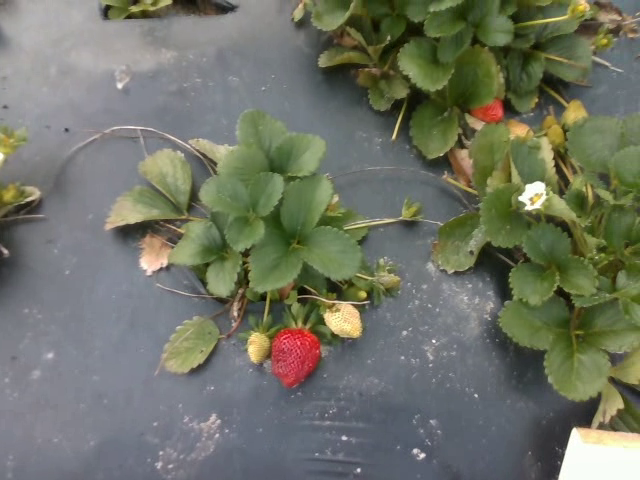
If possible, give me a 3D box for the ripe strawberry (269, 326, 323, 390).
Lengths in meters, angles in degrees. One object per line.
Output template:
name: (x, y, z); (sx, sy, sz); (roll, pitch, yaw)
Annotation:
ripe strawberry: (-0.022, 0.101, 0.514); (0.046, 0.045, 0.059); (2, 38, 10)
